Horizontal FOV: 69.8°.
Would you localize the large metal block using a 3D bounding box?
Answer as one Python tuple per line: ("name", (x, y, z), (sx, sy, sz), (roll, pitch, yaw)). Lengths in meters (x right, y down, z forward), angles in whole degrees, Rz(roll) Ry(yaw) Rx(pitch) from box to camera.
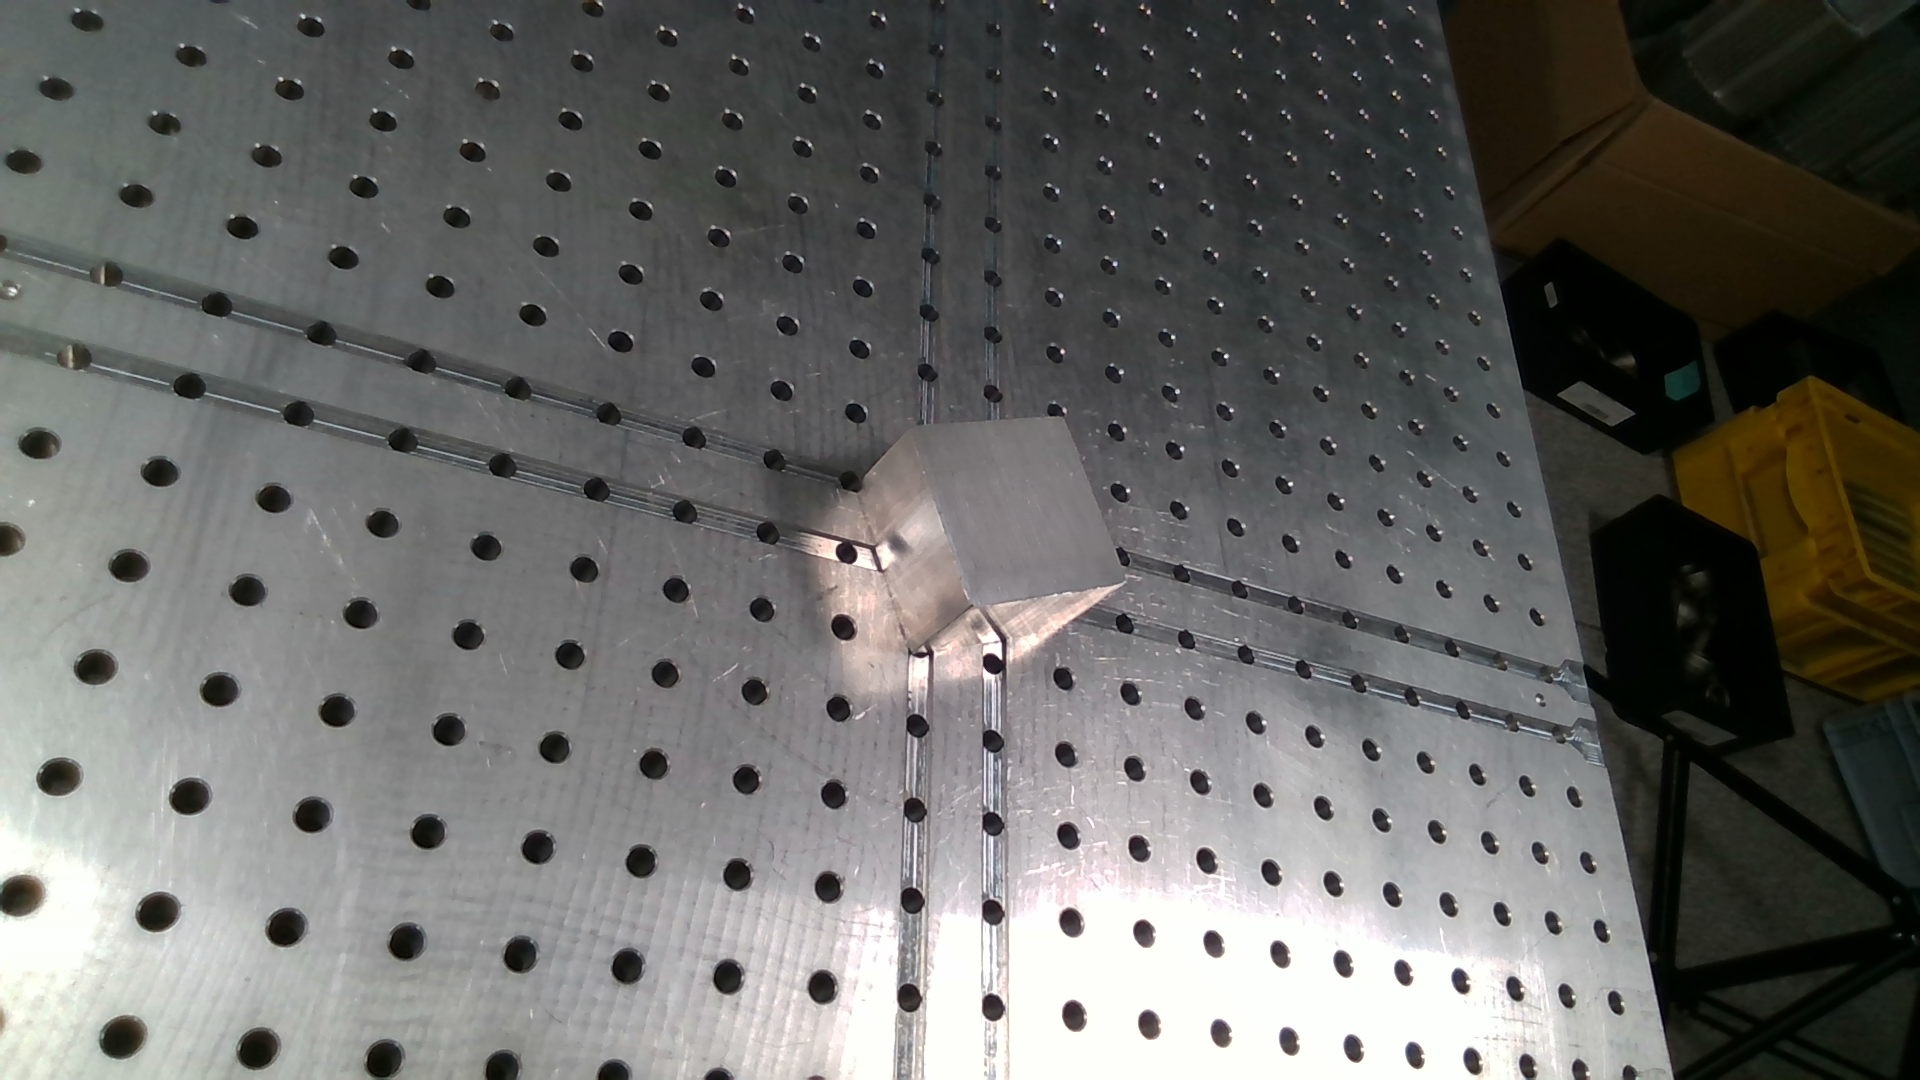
("large metal block", (0.012, -0.003, 0.579), (0.080, 0.050, 0.080), (-7, 69, -34))
